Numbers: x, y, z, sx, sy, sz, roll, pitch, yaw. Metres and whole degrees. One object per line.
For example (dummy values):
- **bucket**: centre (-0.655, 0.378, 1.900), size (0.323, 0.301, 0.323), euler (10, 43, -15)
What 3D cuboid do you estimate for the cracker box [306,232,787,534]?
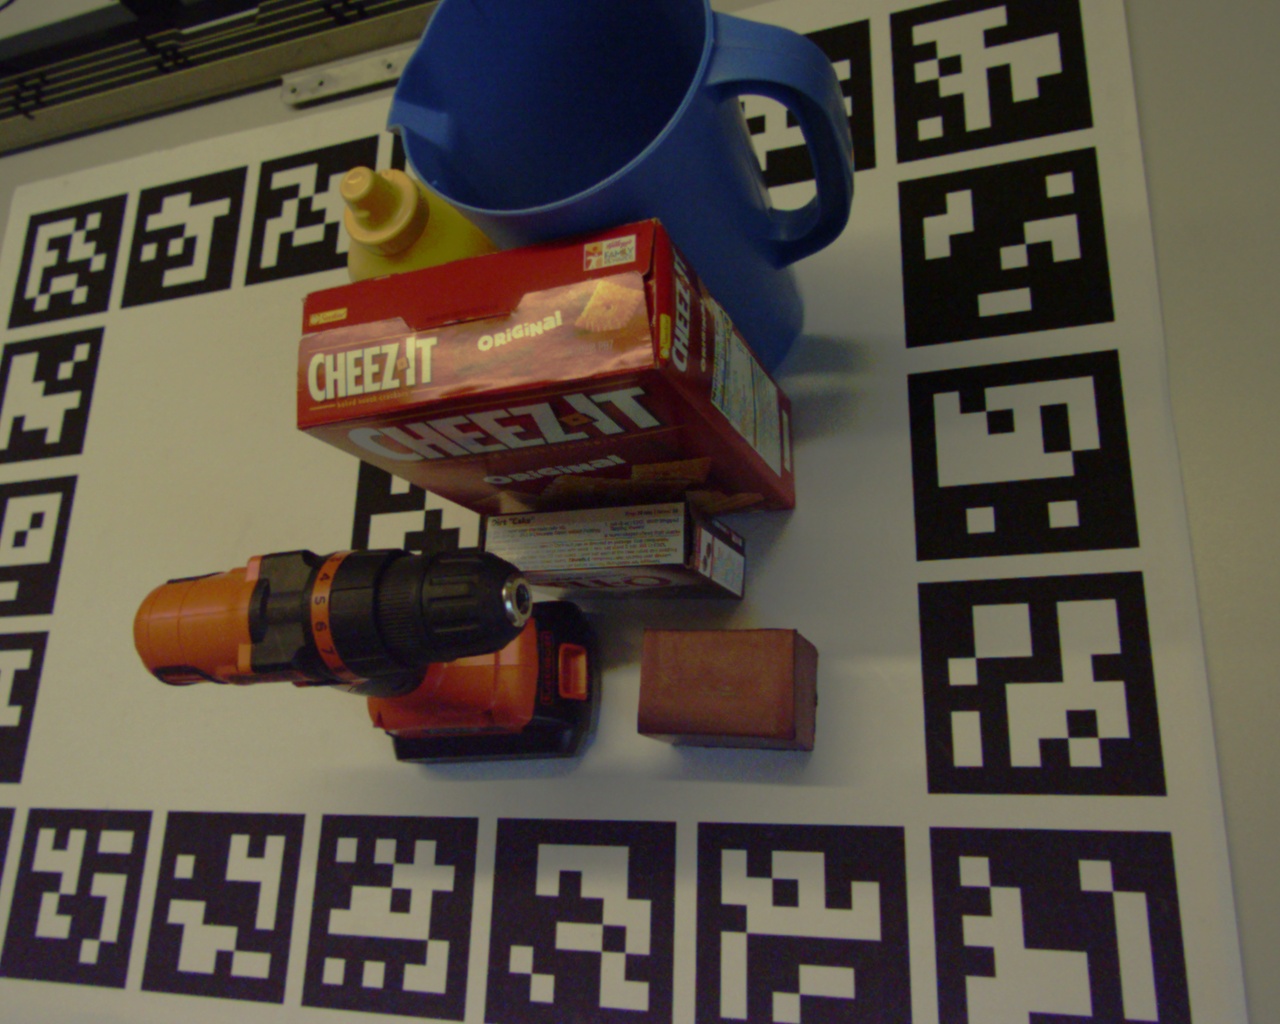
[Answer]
- **cracker box**: centre (-0.034, -0.042, 0.569), size (0.166, 0.211, 0.072), euler (-8, 70, 22)

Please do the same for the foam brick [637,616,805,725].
- **foam brick**: centre (0.042, 0.084, 0.597), size (0.079, 0.051, 0.053), euler (-3, 76, 21)

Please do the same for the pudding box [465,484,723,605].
- **pudding box**: centre (-0.022, 0.019, 0.606), size (0.115, 0.089, 0.039), euler (-5, 72, 24)

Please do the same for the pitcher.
- **pitcher**: centre (0.009, -0.146, 0.575), size (0.191, 0.240, 0.133), euler (1, 75, 24)

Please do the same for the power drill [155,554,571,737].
- **power drill**: centre (-0.105, 0.067, 0.550), size (0.186, 0.185, 0.057), euler (-7, 69, 19)

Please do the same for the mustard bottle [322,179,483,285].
- **mustard bottle**: centre (-0.112, -0.131, 0.634), size (0.097, 0.189, 0.058), euler (8, 80, 24)
